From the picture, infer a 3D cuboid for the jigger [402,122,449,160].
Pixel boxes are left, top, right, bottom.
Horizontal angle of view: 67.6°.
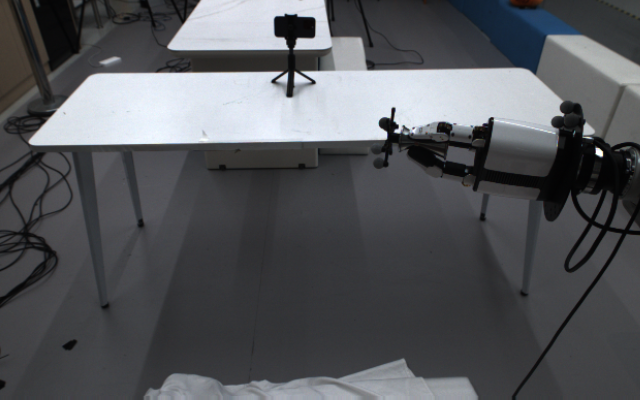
[{"bbox_3d":[0.157,-0.088,0.700,0.071,0.043,0.043,10,35,15],"label":"jigger"}]
